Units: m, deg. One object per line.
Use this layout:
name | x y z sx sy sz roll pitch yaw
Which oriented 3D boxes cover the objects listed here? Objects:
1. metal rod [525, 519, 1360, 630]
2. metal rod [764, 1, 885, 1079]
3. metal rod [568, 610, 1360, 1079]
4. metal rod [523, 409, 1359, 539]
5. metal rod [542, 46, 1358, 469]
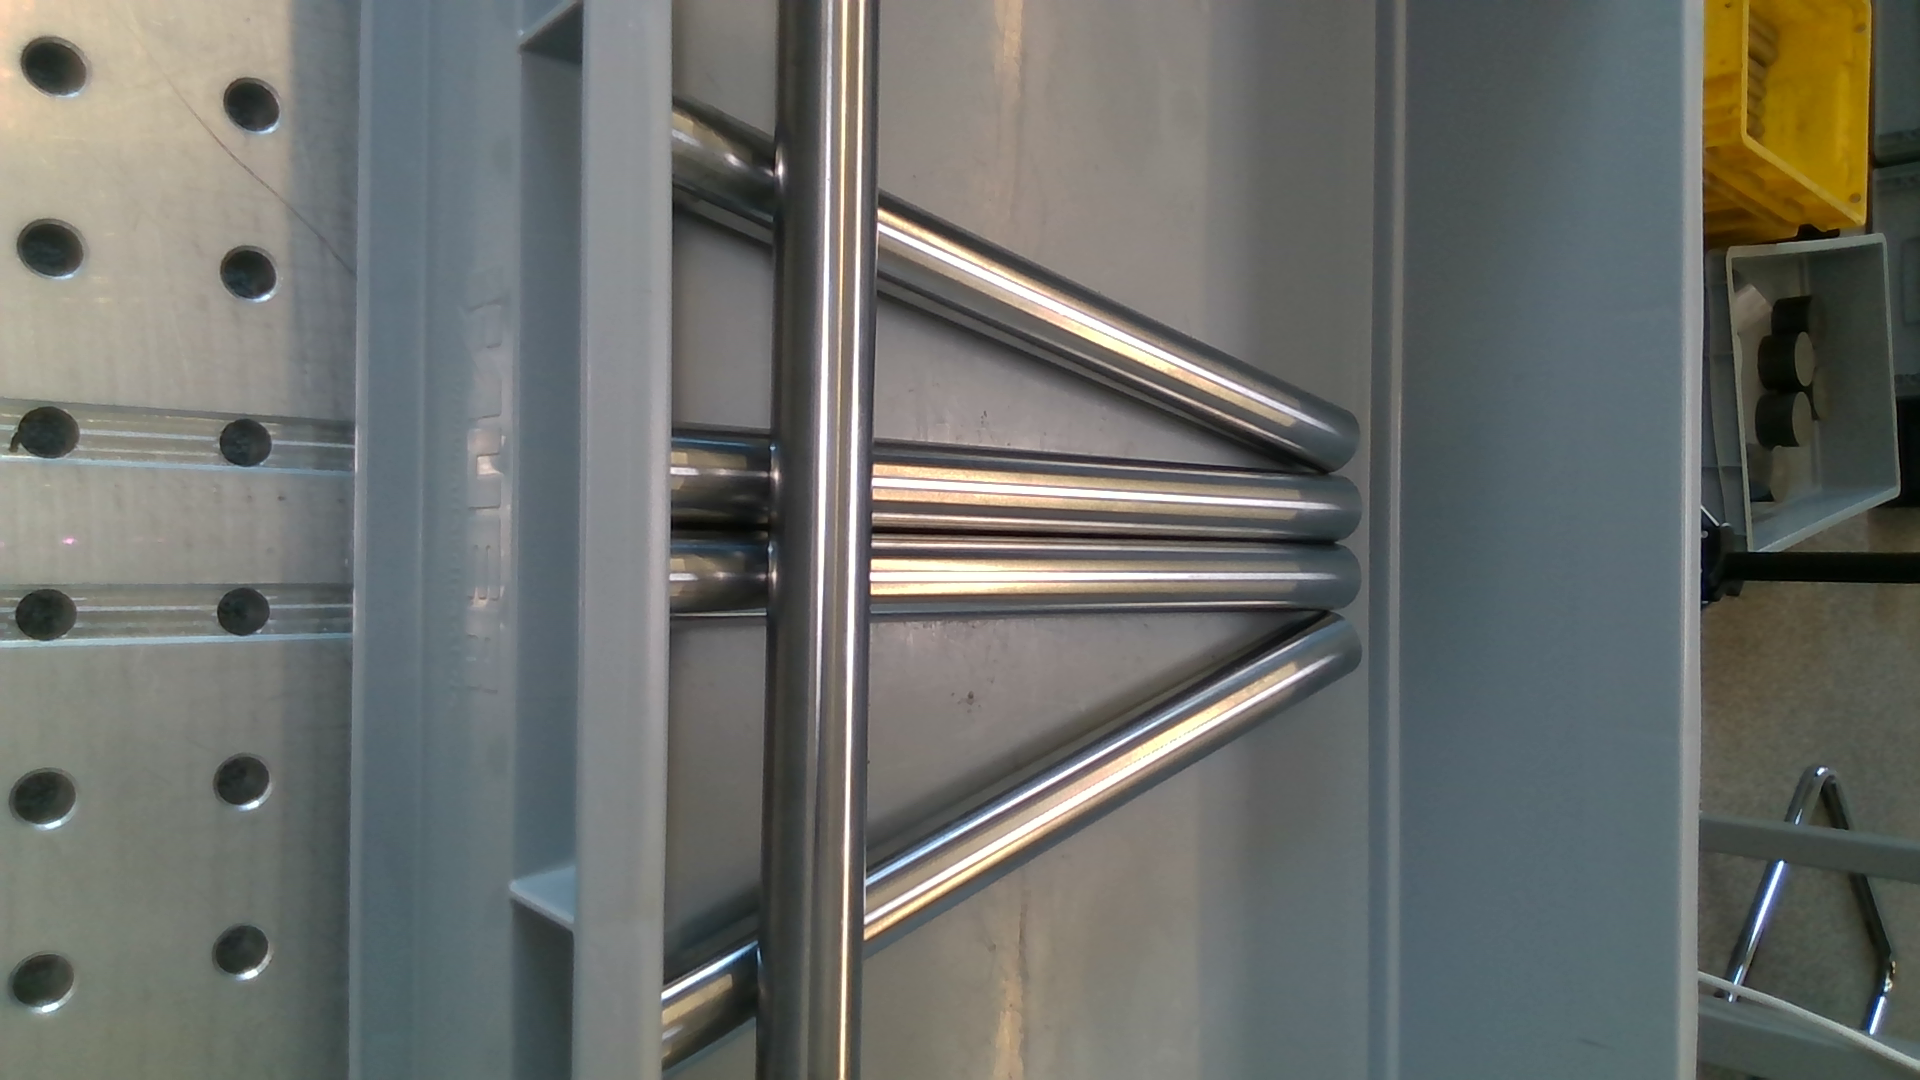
metal rod | 0.021 0.010 0.408 0.300 0.025 0.025 1 89 -40
metal rod | -0.032 0.005 0.329 0.025 0.025 0.300 1 89 -40
metal rod | 0.026 0.077 0.412 0.300 0.025 0.025 -20 103 -38
metal rod | 0.021 -0.014 0.408 0.300 0.025 0.025 1 89 -40
metal rod | 0.022 -0.069 0.409 0.300 0.025 0.025 16 80 -39
